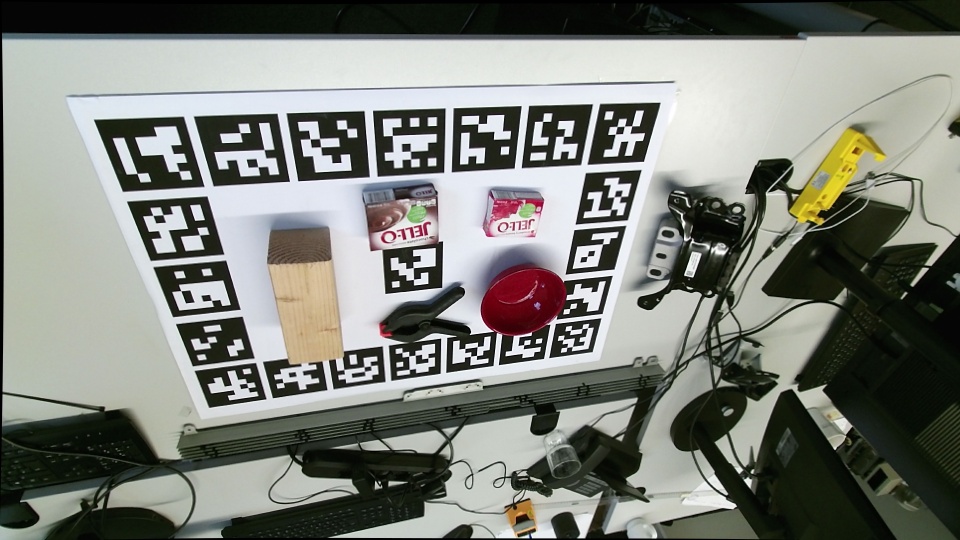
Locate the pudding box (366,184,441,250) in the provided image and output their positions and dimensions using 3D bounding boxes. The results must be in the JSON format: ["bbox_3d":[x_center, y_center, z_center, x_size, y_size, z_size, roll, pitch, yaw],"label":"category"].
[{"bbox_3d":[-0.118,-0.083,0.837,0.114,0.038,0.090,-8,123,-14],"label":"pudding box"}]

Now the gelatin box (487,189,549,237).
[{"bbox_3d":[0.063,-0.093,0.887,0.090,0.030,0.073,1,123,-17],"label":"gelatin box"}]

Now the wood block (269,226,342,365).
[{"bbox_3d":[-0.272,0.043,0.848,0.090,0.090,0.206,-3,126,-14],"label":"wood block"}]

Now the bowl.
[{"bbox_3d":[0.080,0.046,0.989,0.162,0.055,0.161,-7,124,-11],"label":"bowl"}]

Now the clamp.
[{"bbox_3d":[-0.082,0.090,0.986,0.166,0.036,0.122,-14,128,-5],"label":"clamp"}]
